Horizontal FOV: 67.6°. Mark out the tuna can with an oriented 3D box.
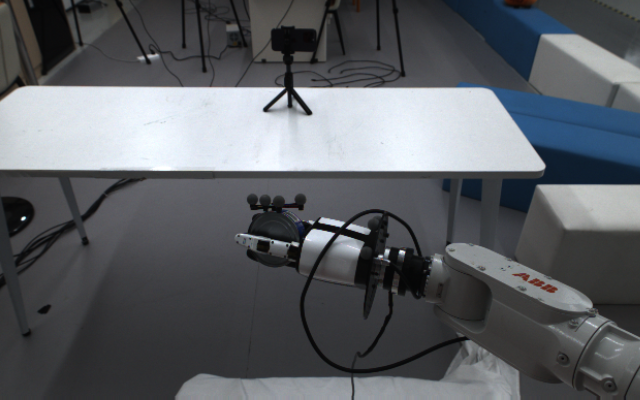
[{"bbox_3d":[-0.064,0.058,0.737,0.085,0.085,0.034,15,10,18],"label":"tuna can"}]
